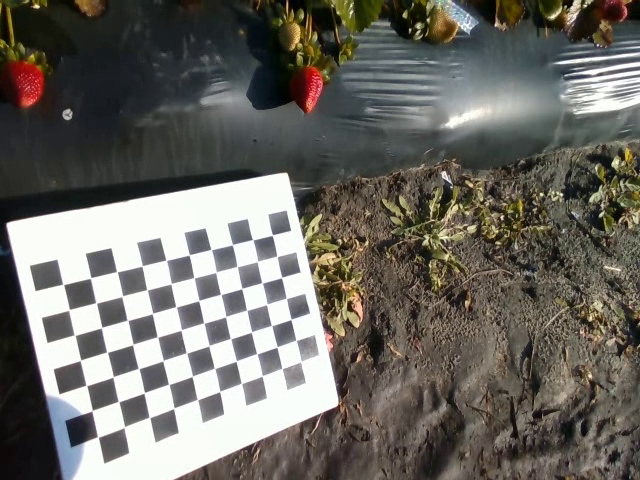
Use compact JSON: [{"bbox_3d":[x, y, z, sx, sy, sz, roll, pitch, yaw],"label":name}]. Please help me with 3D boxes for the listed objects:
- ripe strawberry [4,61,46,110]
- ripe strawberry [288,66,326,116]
[{"bbox_3d":[-0.262,-0.133,0.543,0.046,0.055,0.042,-4,-34,-34],"label":"ripe strawberry"},{"bbox_3d":[-0.017,-0.153,0.645,0.042,0.058,0.042,12,-22,-32],"label":"ripe strawberry"}]
